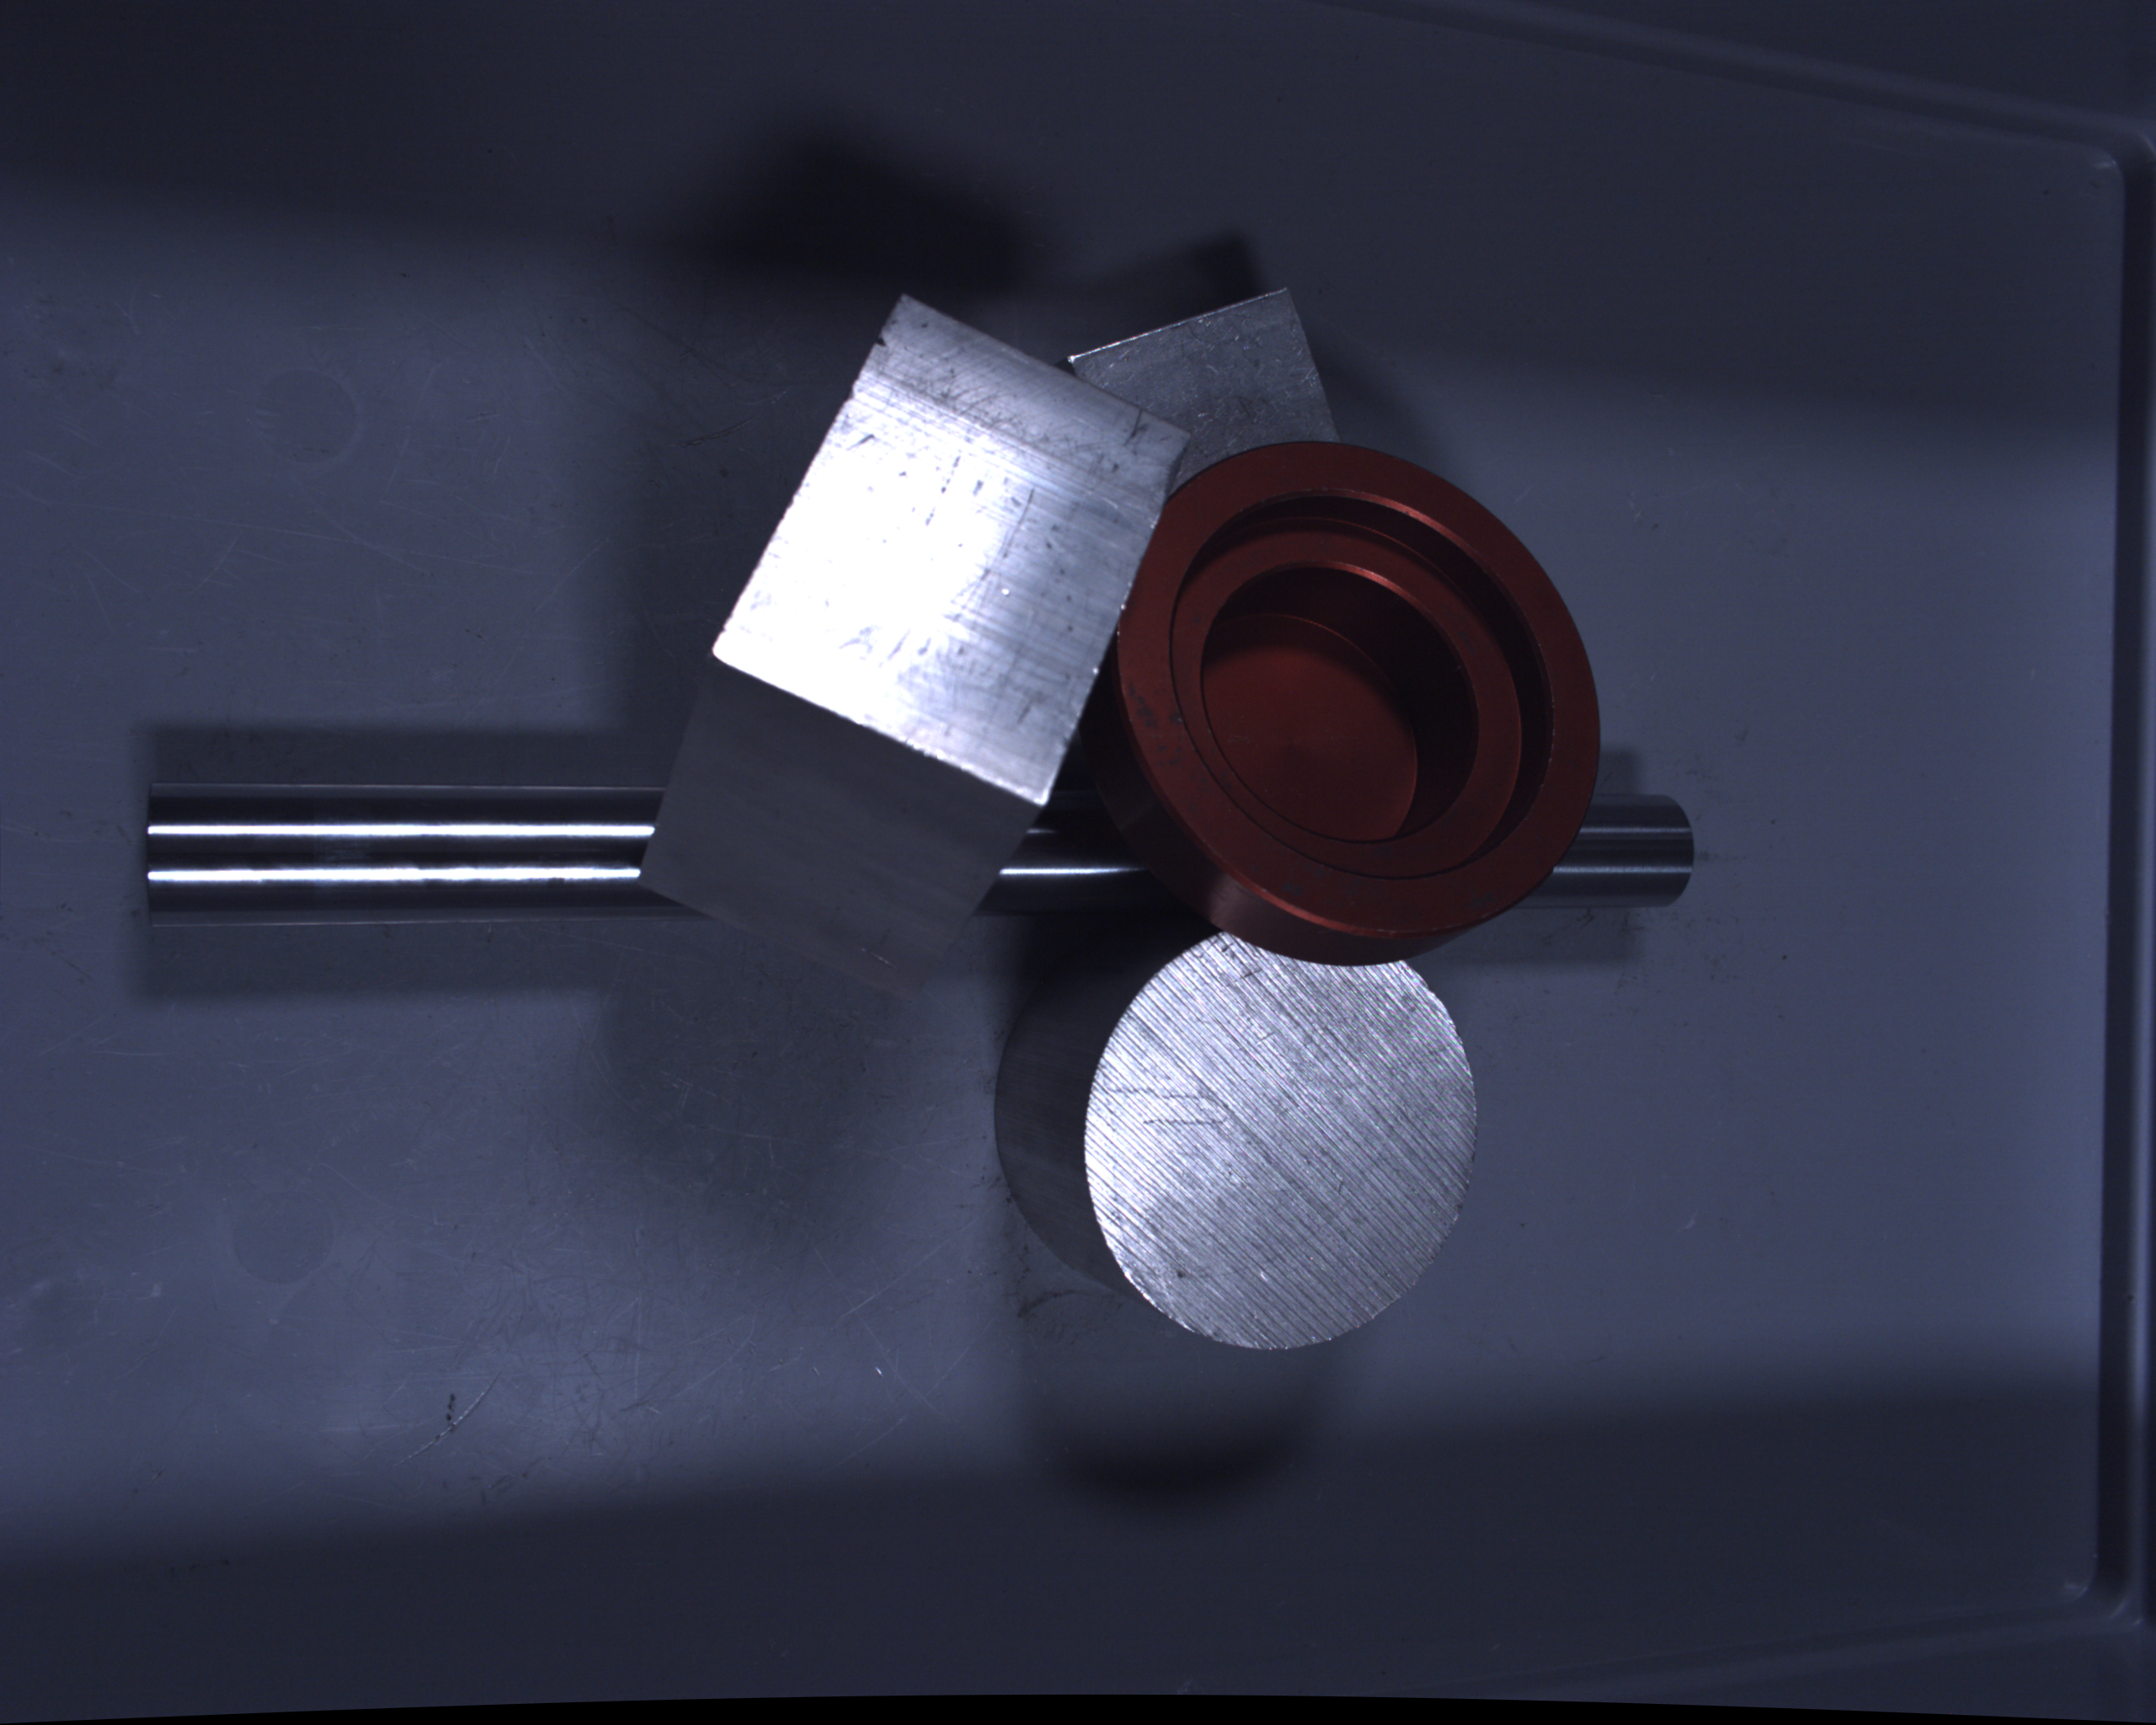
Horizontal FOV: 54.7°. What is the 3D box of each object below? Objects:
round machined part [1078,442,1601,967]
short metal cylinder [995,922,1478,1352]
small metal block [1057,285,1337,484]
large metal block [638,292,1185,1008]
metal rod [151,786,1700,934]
[{"bbox_3d":[0.046,-0.027,0.398,0.099,0.042,0.098,6,70,-18],"label":"round machined part"},{"bbox_3d":[0.030,0.050,0.407,0.081,0.050,0.079,0,90,-21],"label":"short metal cylinder"},{"bbox_3d":[0.023,-0.082,0.419,0.050,0.025,0.050,-22,98,-19],"label":"small metal block"},{"bbox_3d":[-0.030,-0.033,0.354,0.050,0.080,0.080,25,59,-8],"label":"large metal block"},{"bbox_3d":[-0.013,-0.001,0.403,0.303,0.025,0.025,0,90,-21],"label":"metal rod"}]
